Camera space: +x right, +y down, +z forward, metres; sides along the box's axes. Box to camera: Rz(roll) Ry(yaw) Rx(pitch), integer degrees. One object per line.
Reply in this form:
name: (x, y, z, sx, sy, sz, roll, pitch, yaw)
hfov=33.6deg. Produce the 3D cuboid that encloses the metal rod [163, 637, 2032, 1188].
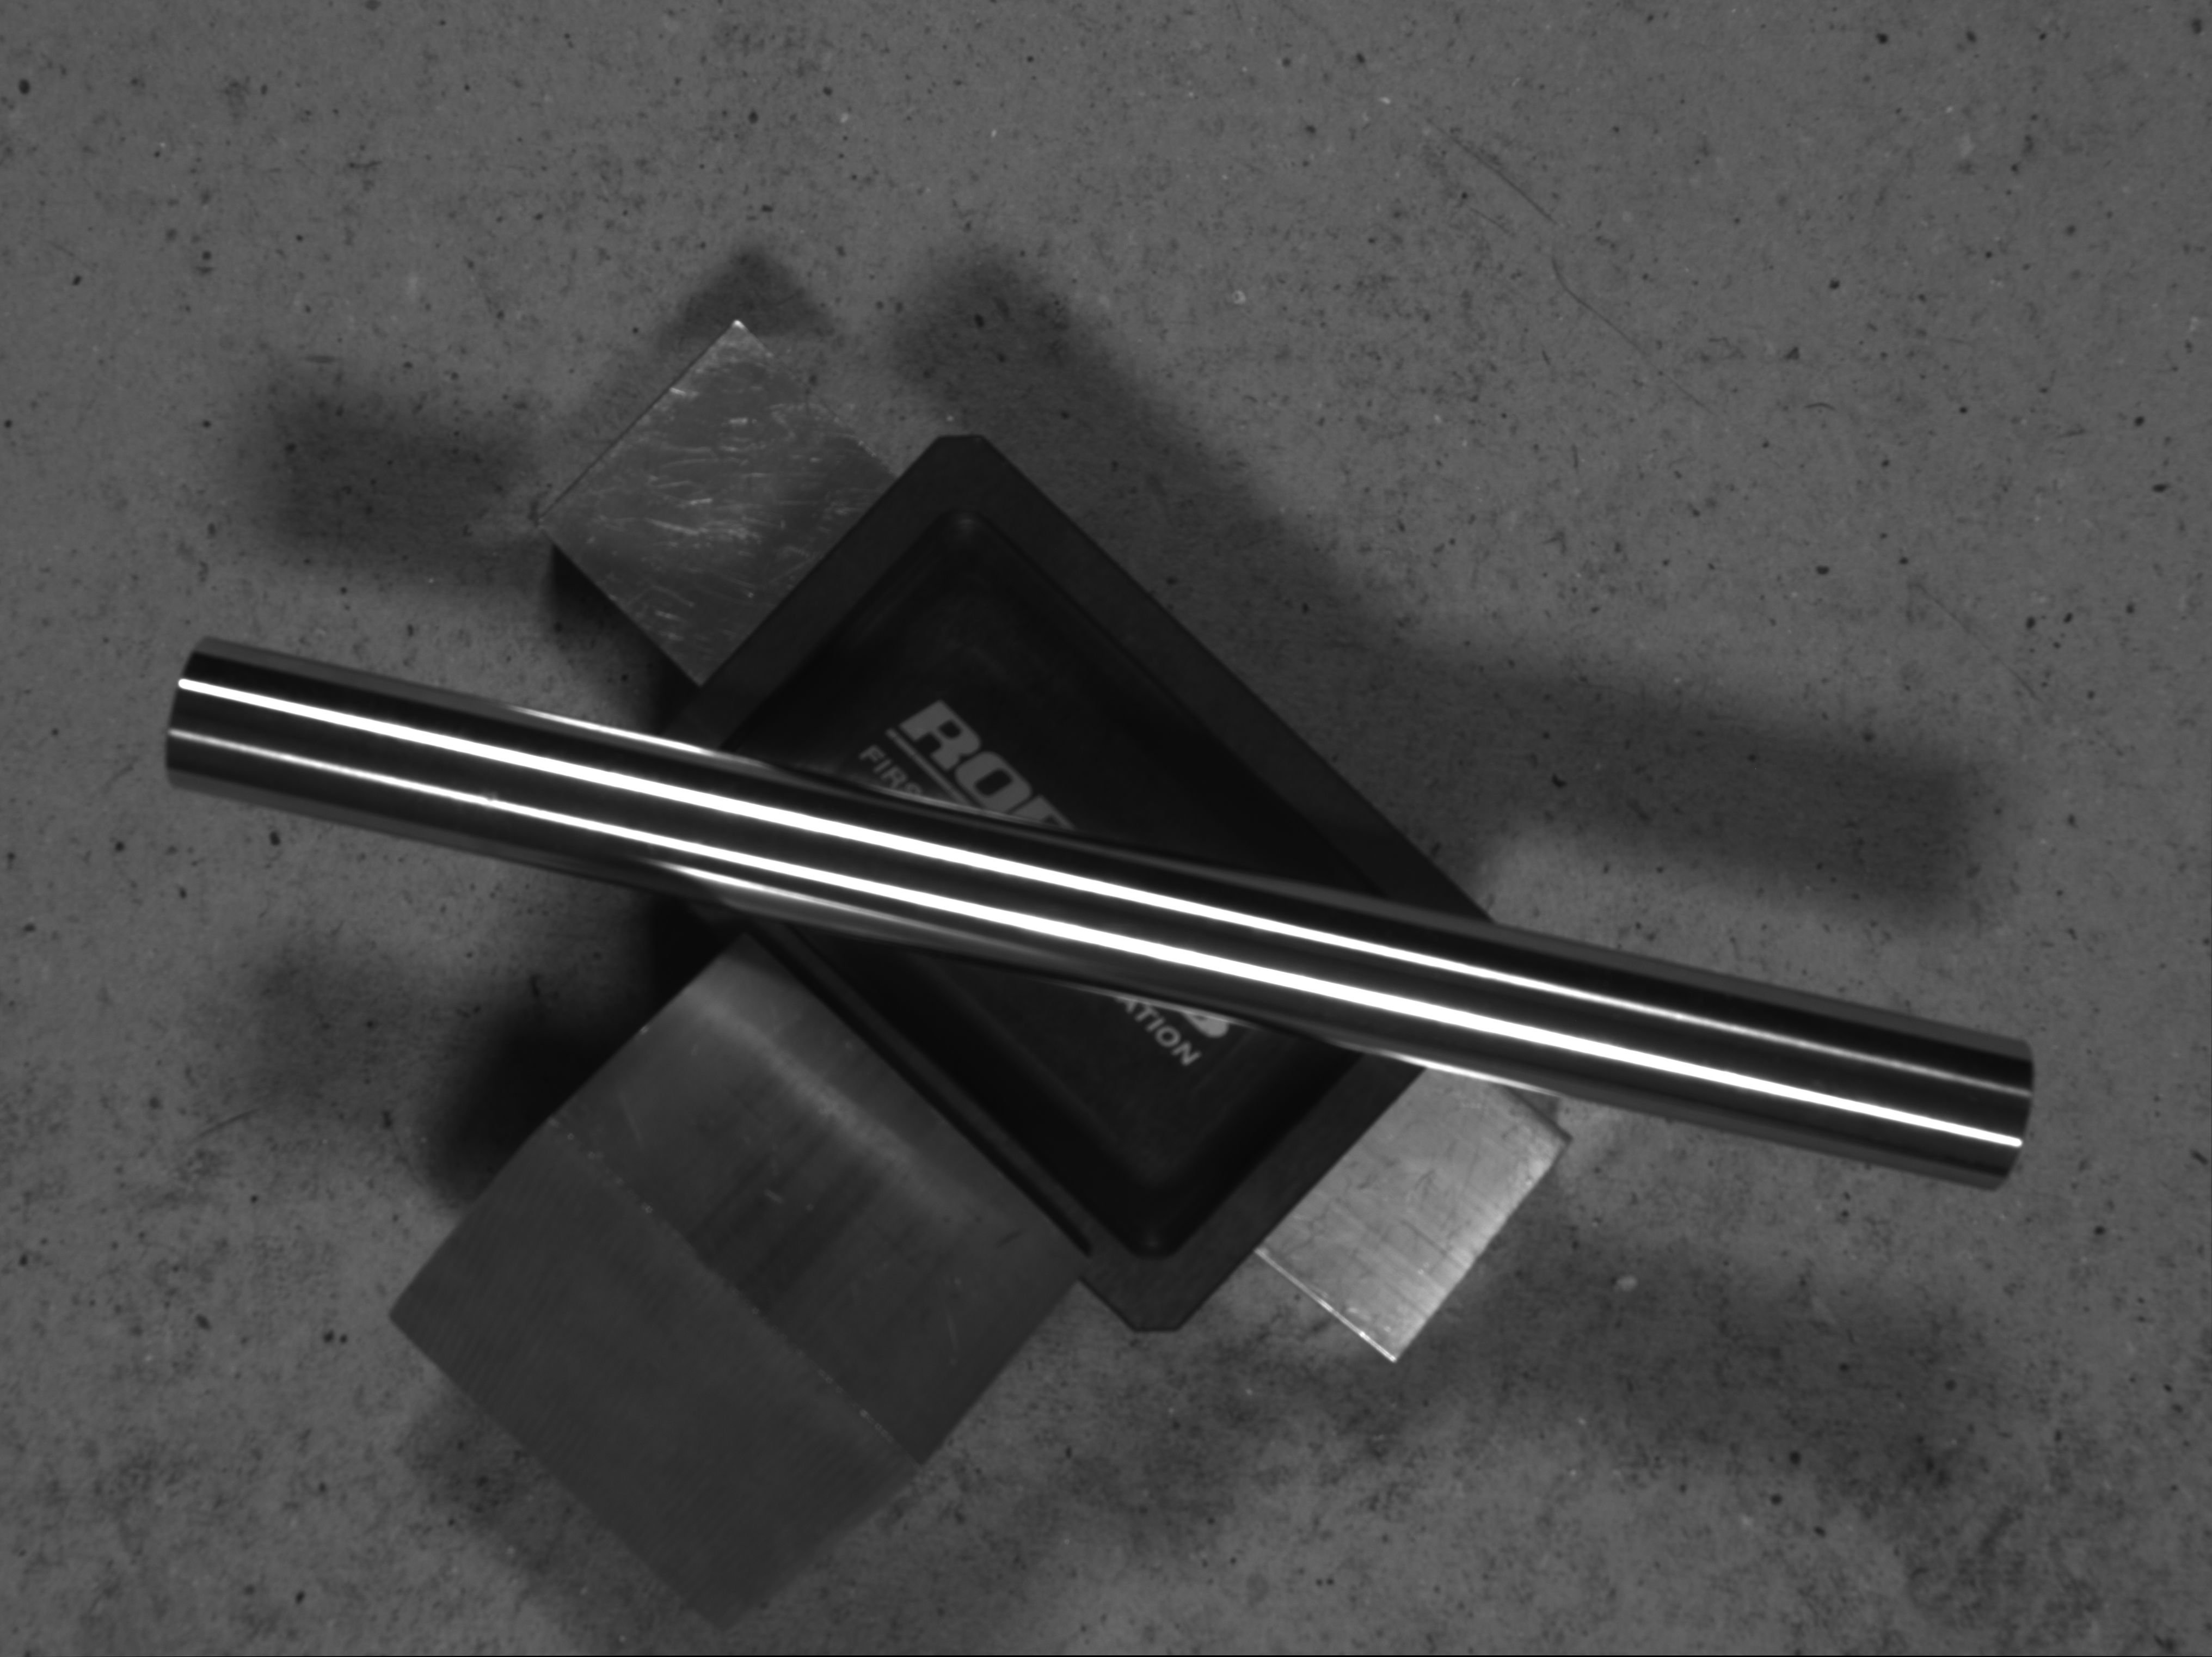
metal rod: (-0.001, 0.014, 0.590, 0.300, 0.025, 0.025, 12, 90, -1)

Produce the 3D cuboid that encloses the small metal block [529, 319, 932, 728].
small metal block: (-0.064, -0.053, 0.644, 0.050, 0.025, 0.050, 45, 90, 0)

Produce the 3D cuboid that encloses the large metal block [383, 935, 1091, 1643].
large metal block: (-0.063, 0.078, 0.609, 0.080, 0.080, 0.050, 43, 48, 0)

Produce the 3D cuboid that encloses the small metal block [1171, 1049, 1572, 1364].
small metal block: (0.045, 0.058, 0.645, 0.050, 0.025, 0.050, 39, 90, 0)

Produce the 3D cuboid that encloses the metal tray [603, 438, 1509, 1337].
metal tray: (-0.008, 0.010, 0.617, 0.130, 0.030, 0.090, 44, 90, 0)
